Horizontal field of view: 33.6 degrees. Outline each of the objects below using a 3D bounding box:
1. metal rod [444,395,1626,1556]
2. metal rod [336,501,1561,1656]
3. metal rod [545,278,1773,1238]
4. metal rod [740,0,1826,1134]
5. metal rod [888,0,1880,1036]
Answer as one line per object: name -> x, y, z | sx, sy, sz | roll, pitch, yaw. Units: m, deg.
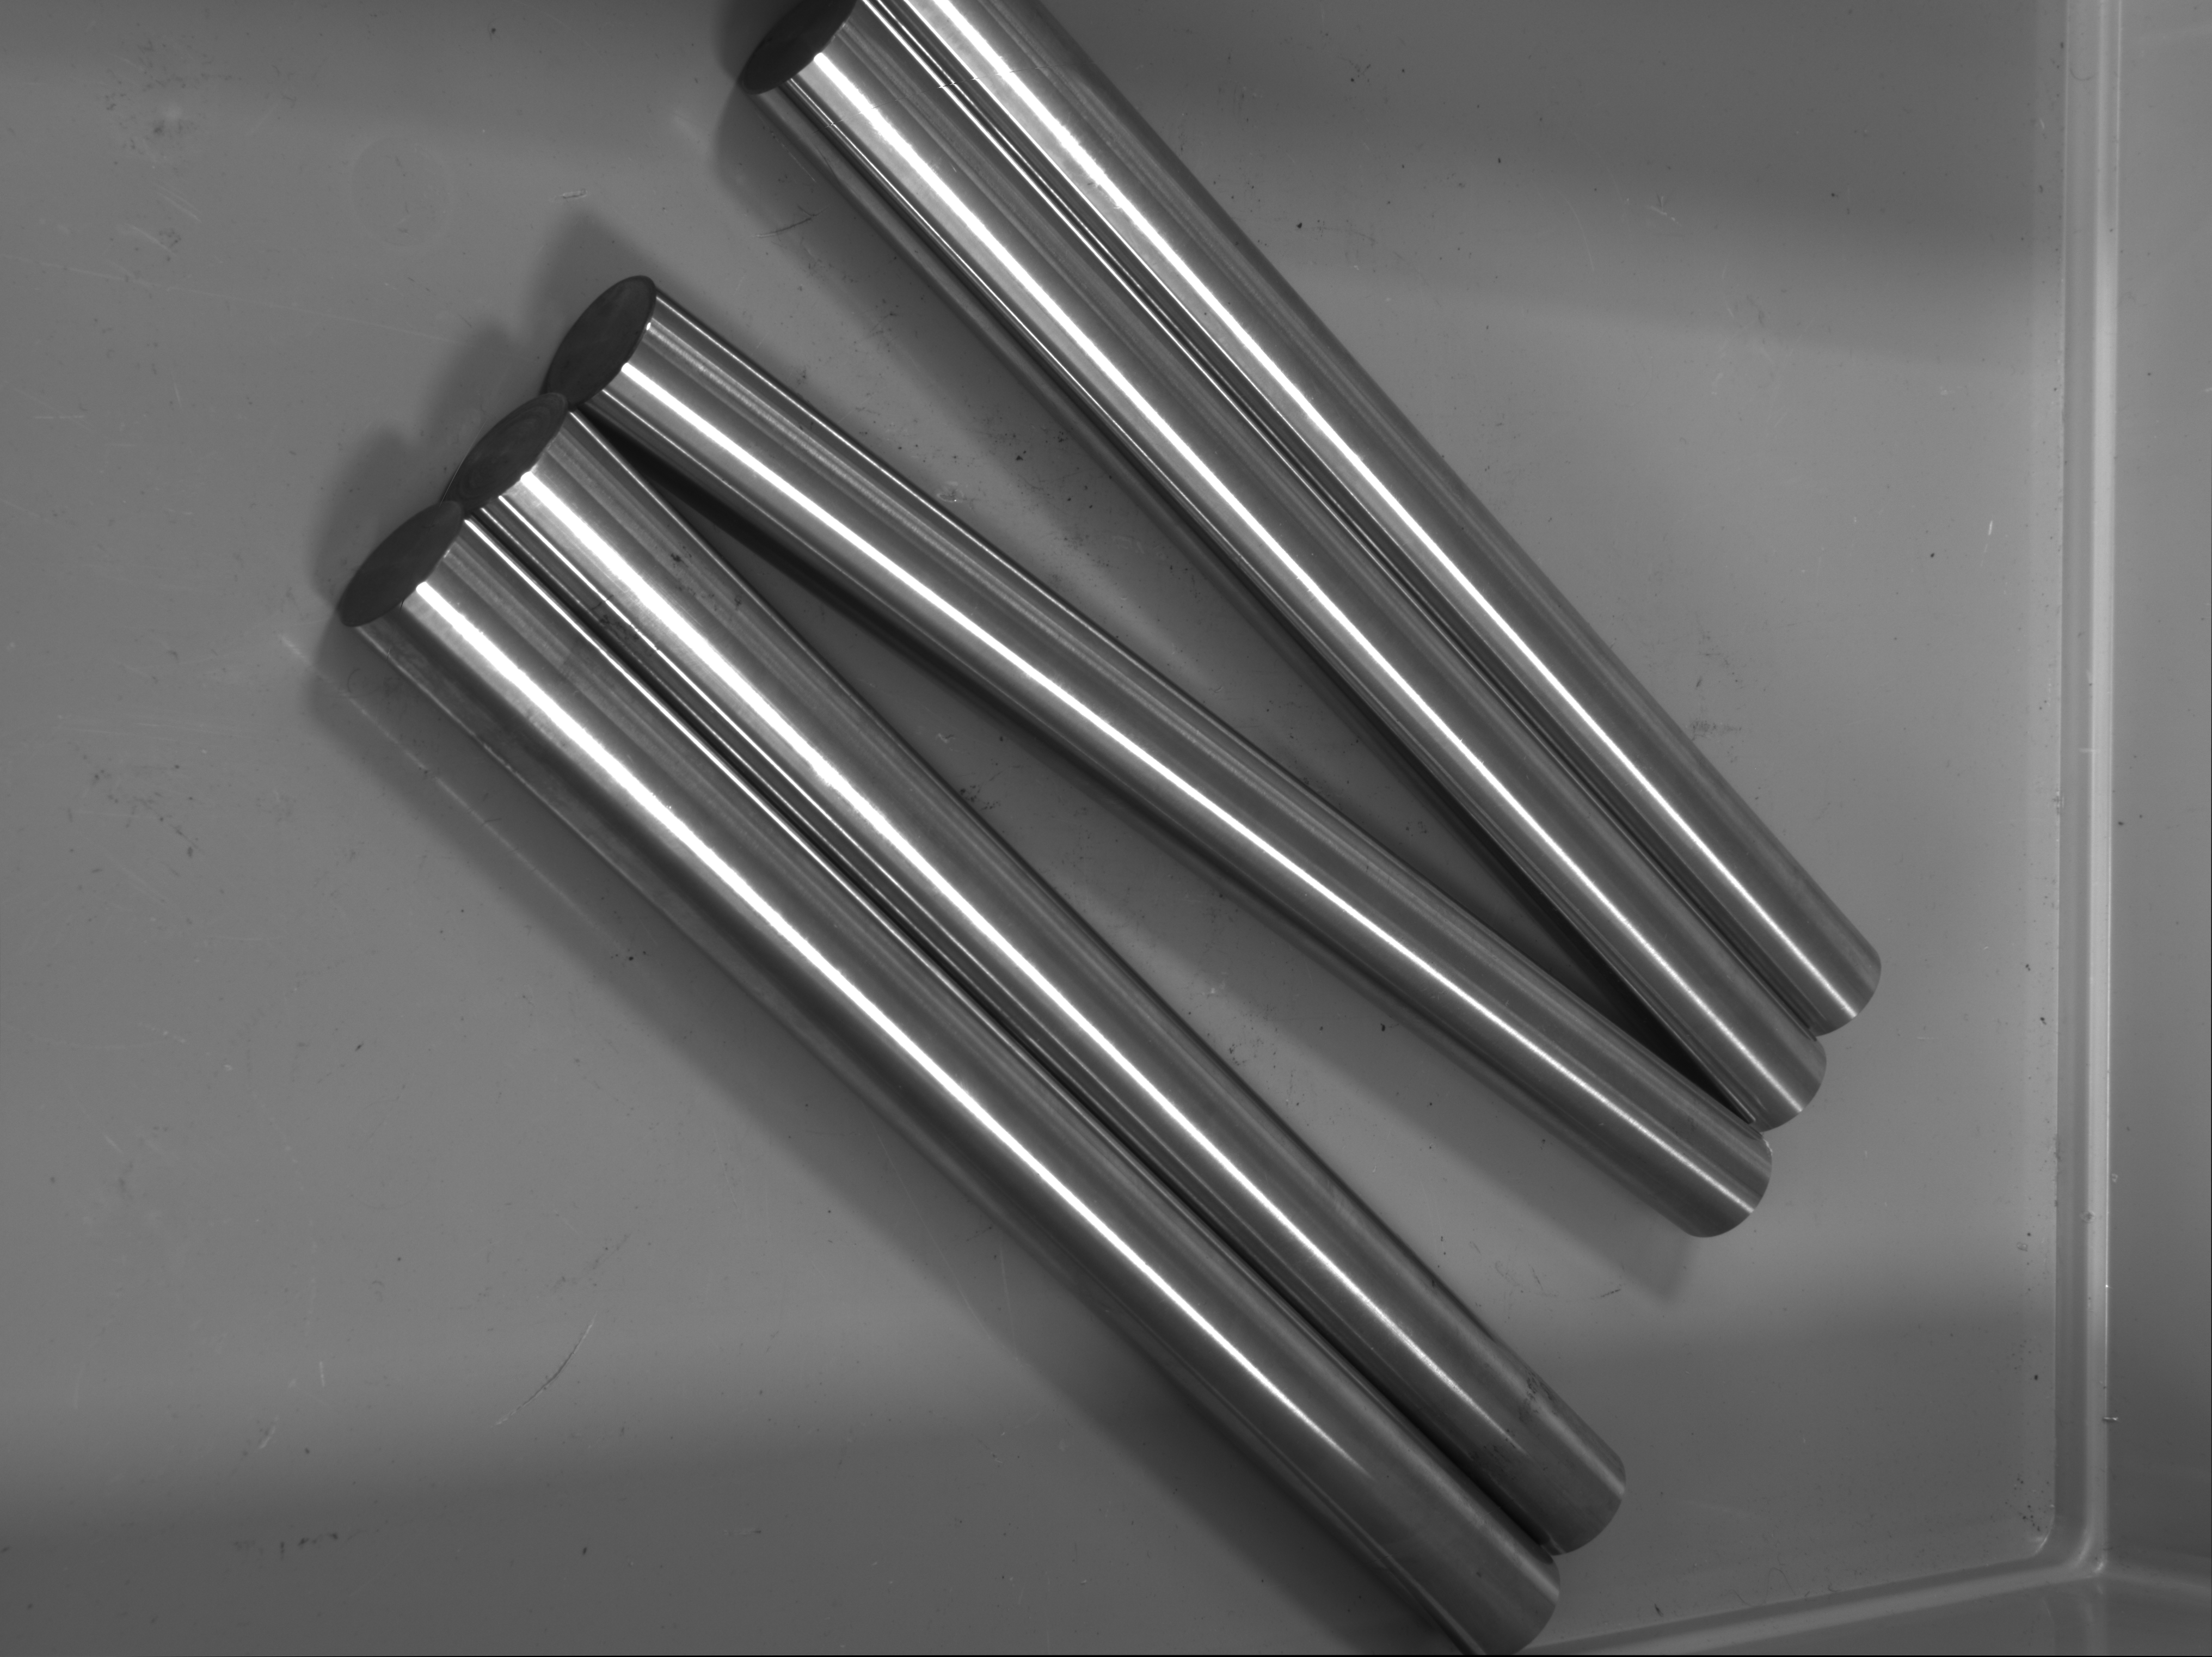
metal rod -> -0.001, 0.037, 0.634 | 0.301, 0.025, 0.025 | 46, 63, -30
metal rod -> -0.015, 0.054, 0.622 | 0.301, 0.025, 0.025 | 46, 63, -30
metal rod -> 0.022, -0.002, 0.653 | 0.301, 0.025, 0.025 | 36, 68, -34
metal rod -> 0.043, -0.038, 0.670 | 0.301, 0.025, 0.025 | 44, 64, -31
metal rod -> 0.056, -0.057, 0.681 | 0.301, 0.025, 0.025 | 44, 64, -31
